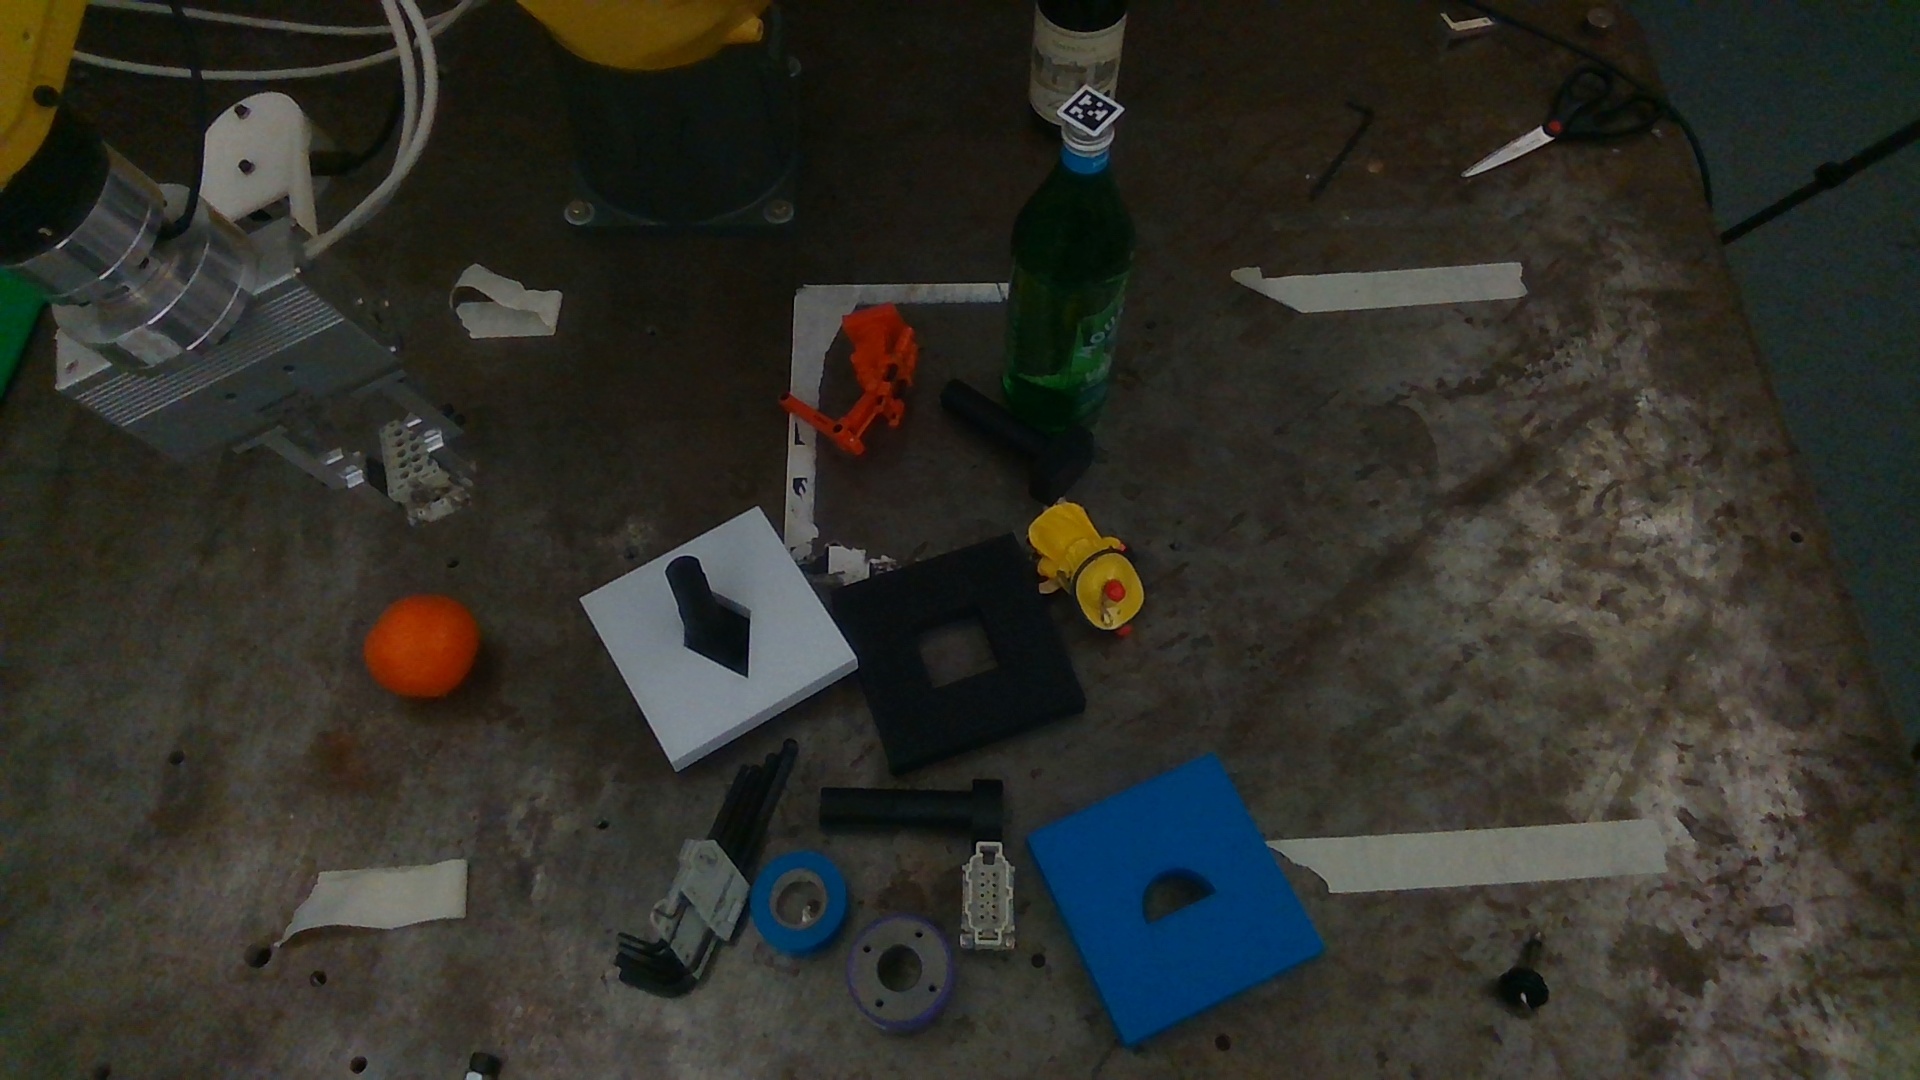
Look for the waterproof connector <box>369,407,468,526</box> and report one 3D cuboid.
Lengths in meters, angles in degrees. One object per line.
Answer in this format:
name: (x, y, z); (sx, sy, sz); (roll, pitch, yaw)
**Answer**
waterproof connector: (-0.305, -0.042, 0.784); (0.037, 0.038, 0.069); (-25, 68, 2)
